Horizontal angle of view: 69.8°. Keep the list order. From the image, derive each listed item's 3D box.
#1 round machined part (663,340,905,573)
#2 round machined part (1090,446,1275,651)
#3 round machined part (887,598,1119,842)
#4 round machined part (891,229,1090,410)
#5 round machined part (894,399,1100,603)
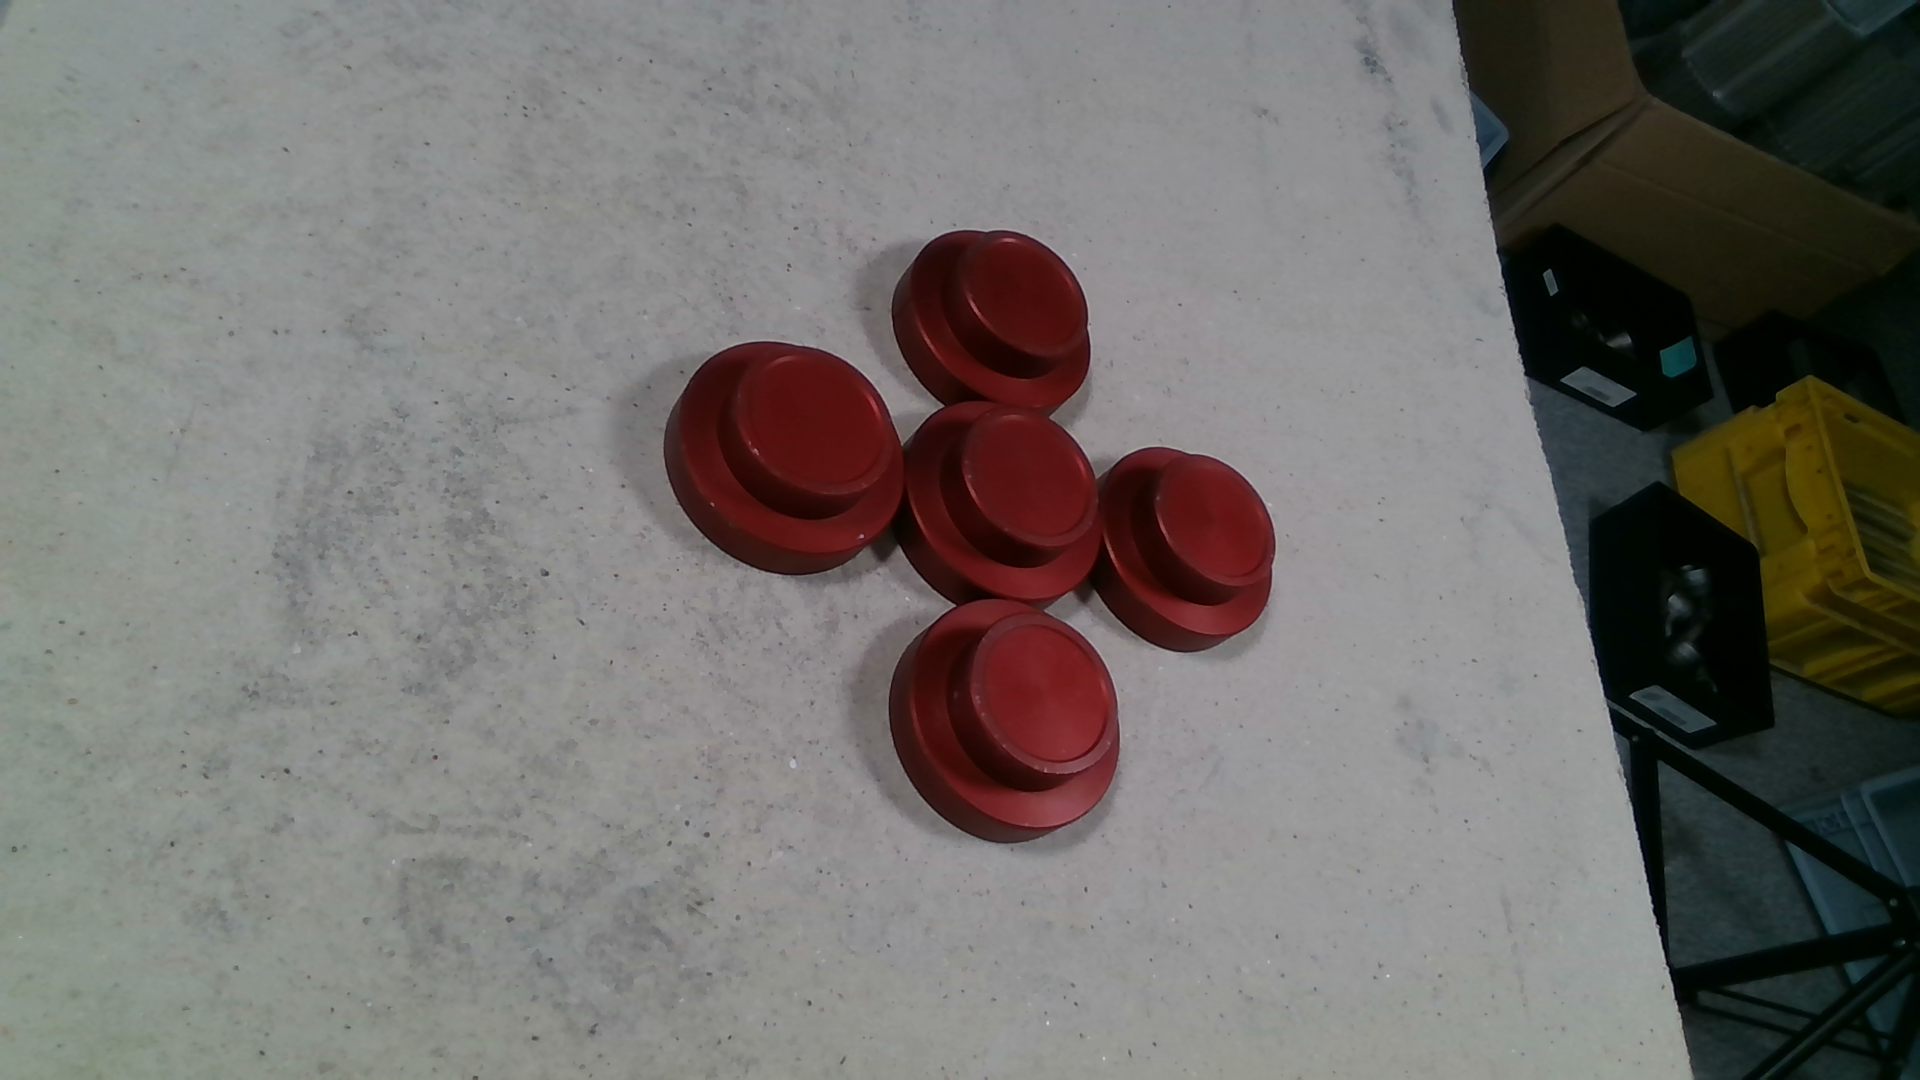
[{"bbox_3d":[-0.066,-0.039,0.555,0.098,0.042,0.098,14,59,-25],"label":"round machined part"},{"bbox_3d":[0.107,-0.001,0.642,0.098,0.042,0.098,14,59,-25],"label":"round machined part"},{"bbox_3d":[0.024,0.068,0.554,0.098,0.042,0.098,14,59,-25],"label":"round machined part"},{"bbox_3d":[0.020,-0.105,0.644,0.098,0.042,0.098,14,59,-25],"label":"round machined part"},{"bbox_3d":[0.021,-0.019,0.598,0.098,0.042,0.098,14,59,-25],"label":"round machined part"}]
